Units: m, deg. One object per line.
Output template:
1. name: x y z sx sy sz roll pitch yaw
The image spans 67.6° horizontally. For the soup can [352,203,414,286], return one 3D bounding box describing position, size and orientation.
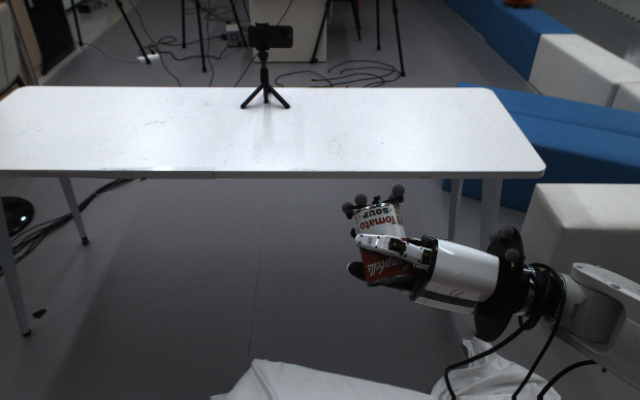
1. soup can: 0.088 0.061 0.664 0.067 0.067 0.101 -8 74 -14
